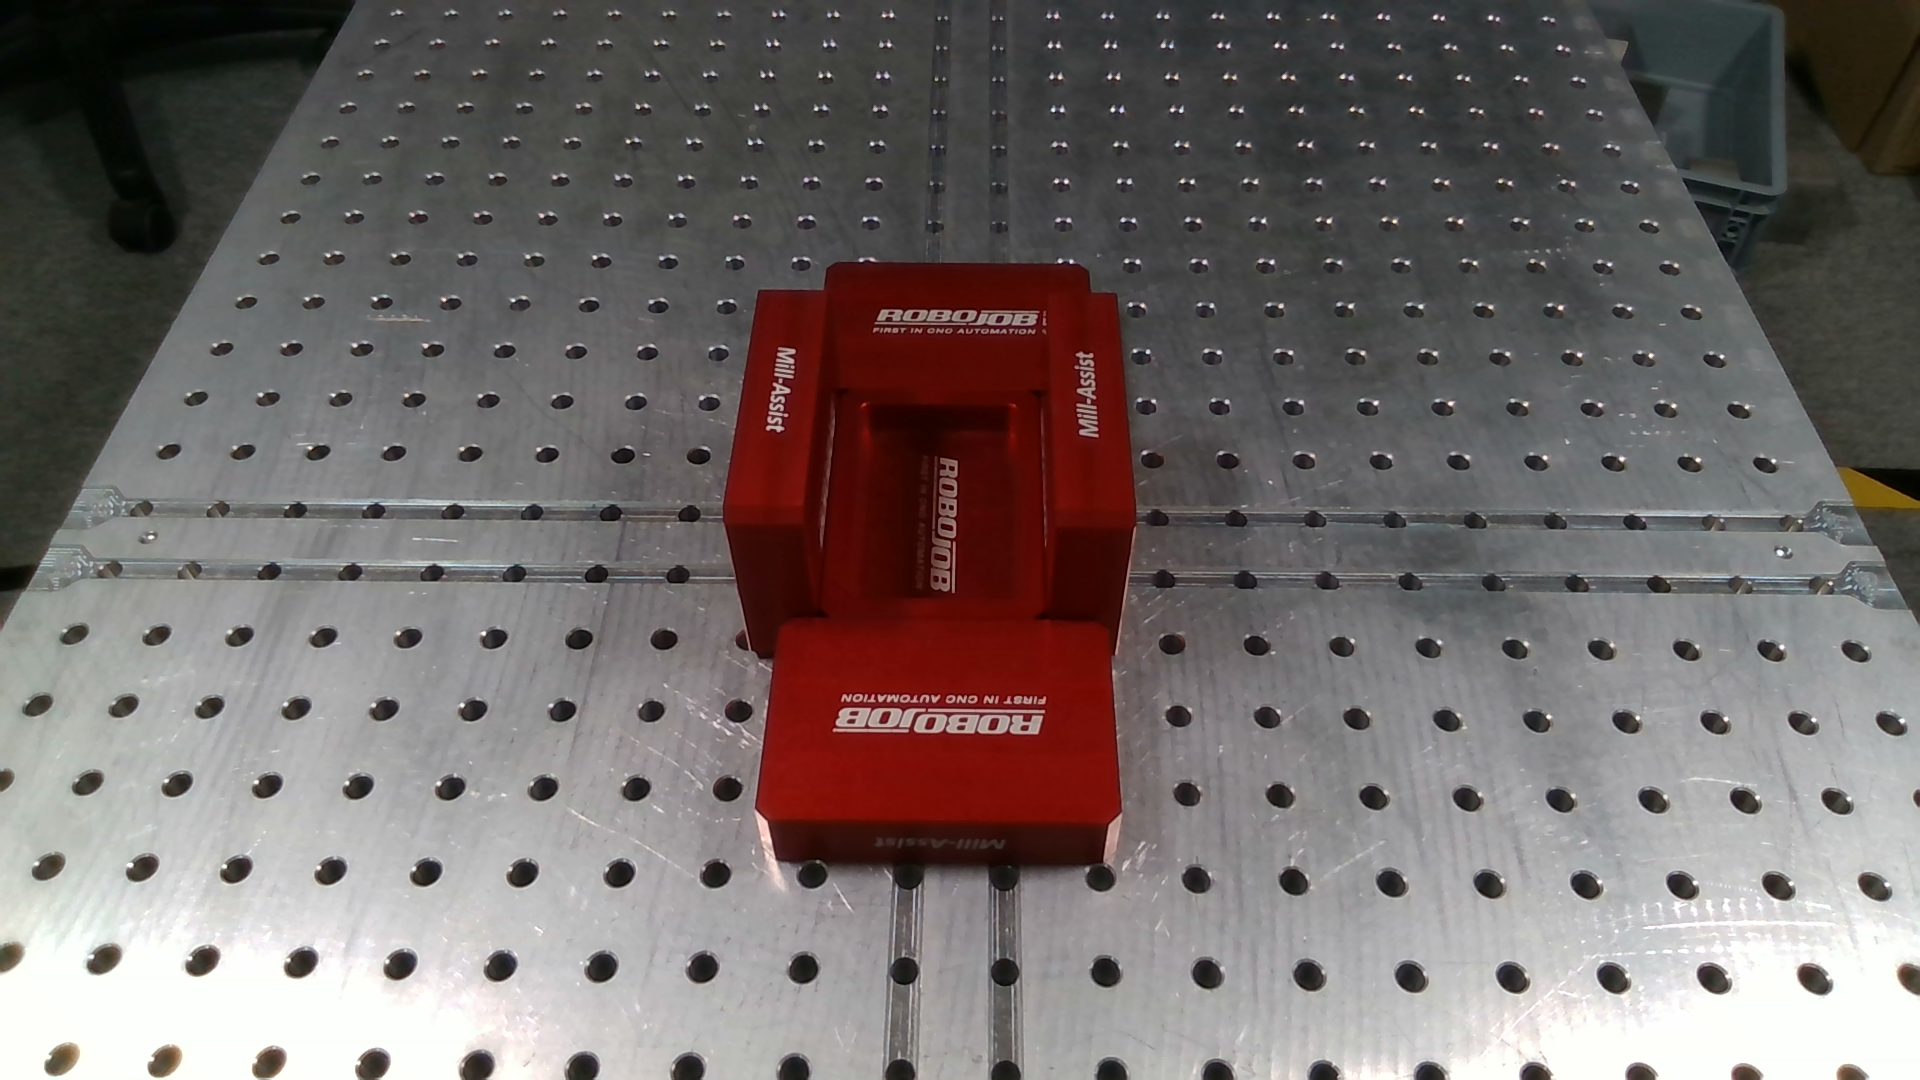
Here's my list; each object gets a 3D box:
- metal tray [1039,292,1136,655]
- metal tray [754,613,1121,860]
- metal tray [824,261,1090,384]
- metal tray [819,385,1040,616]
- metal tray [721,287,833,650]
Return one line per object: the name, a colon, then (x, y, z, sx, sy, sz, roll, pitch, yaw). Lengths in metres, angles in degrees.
metal tray: (0.050, -0.029, 0.571, 0.030, 0.090, 0.130, 0, 50, 0)
metal tray: (-0.007, 0.073, 0.523, 0.130, 0.030, 0.090, 1, 51, 1)
metal tray: (-0.002, -0.094, 0.665, 0.130, 0.030, 0.090, 1, 50, 1)
metal tray: (-0.010, -0.011, 0.593, 0.090, 0.030, 0.130, 0, 50, 0)
metal tray: (-0.071, -0.031, 0.571, 0.030, 0.090, 0.130, 0, 50, 0)
